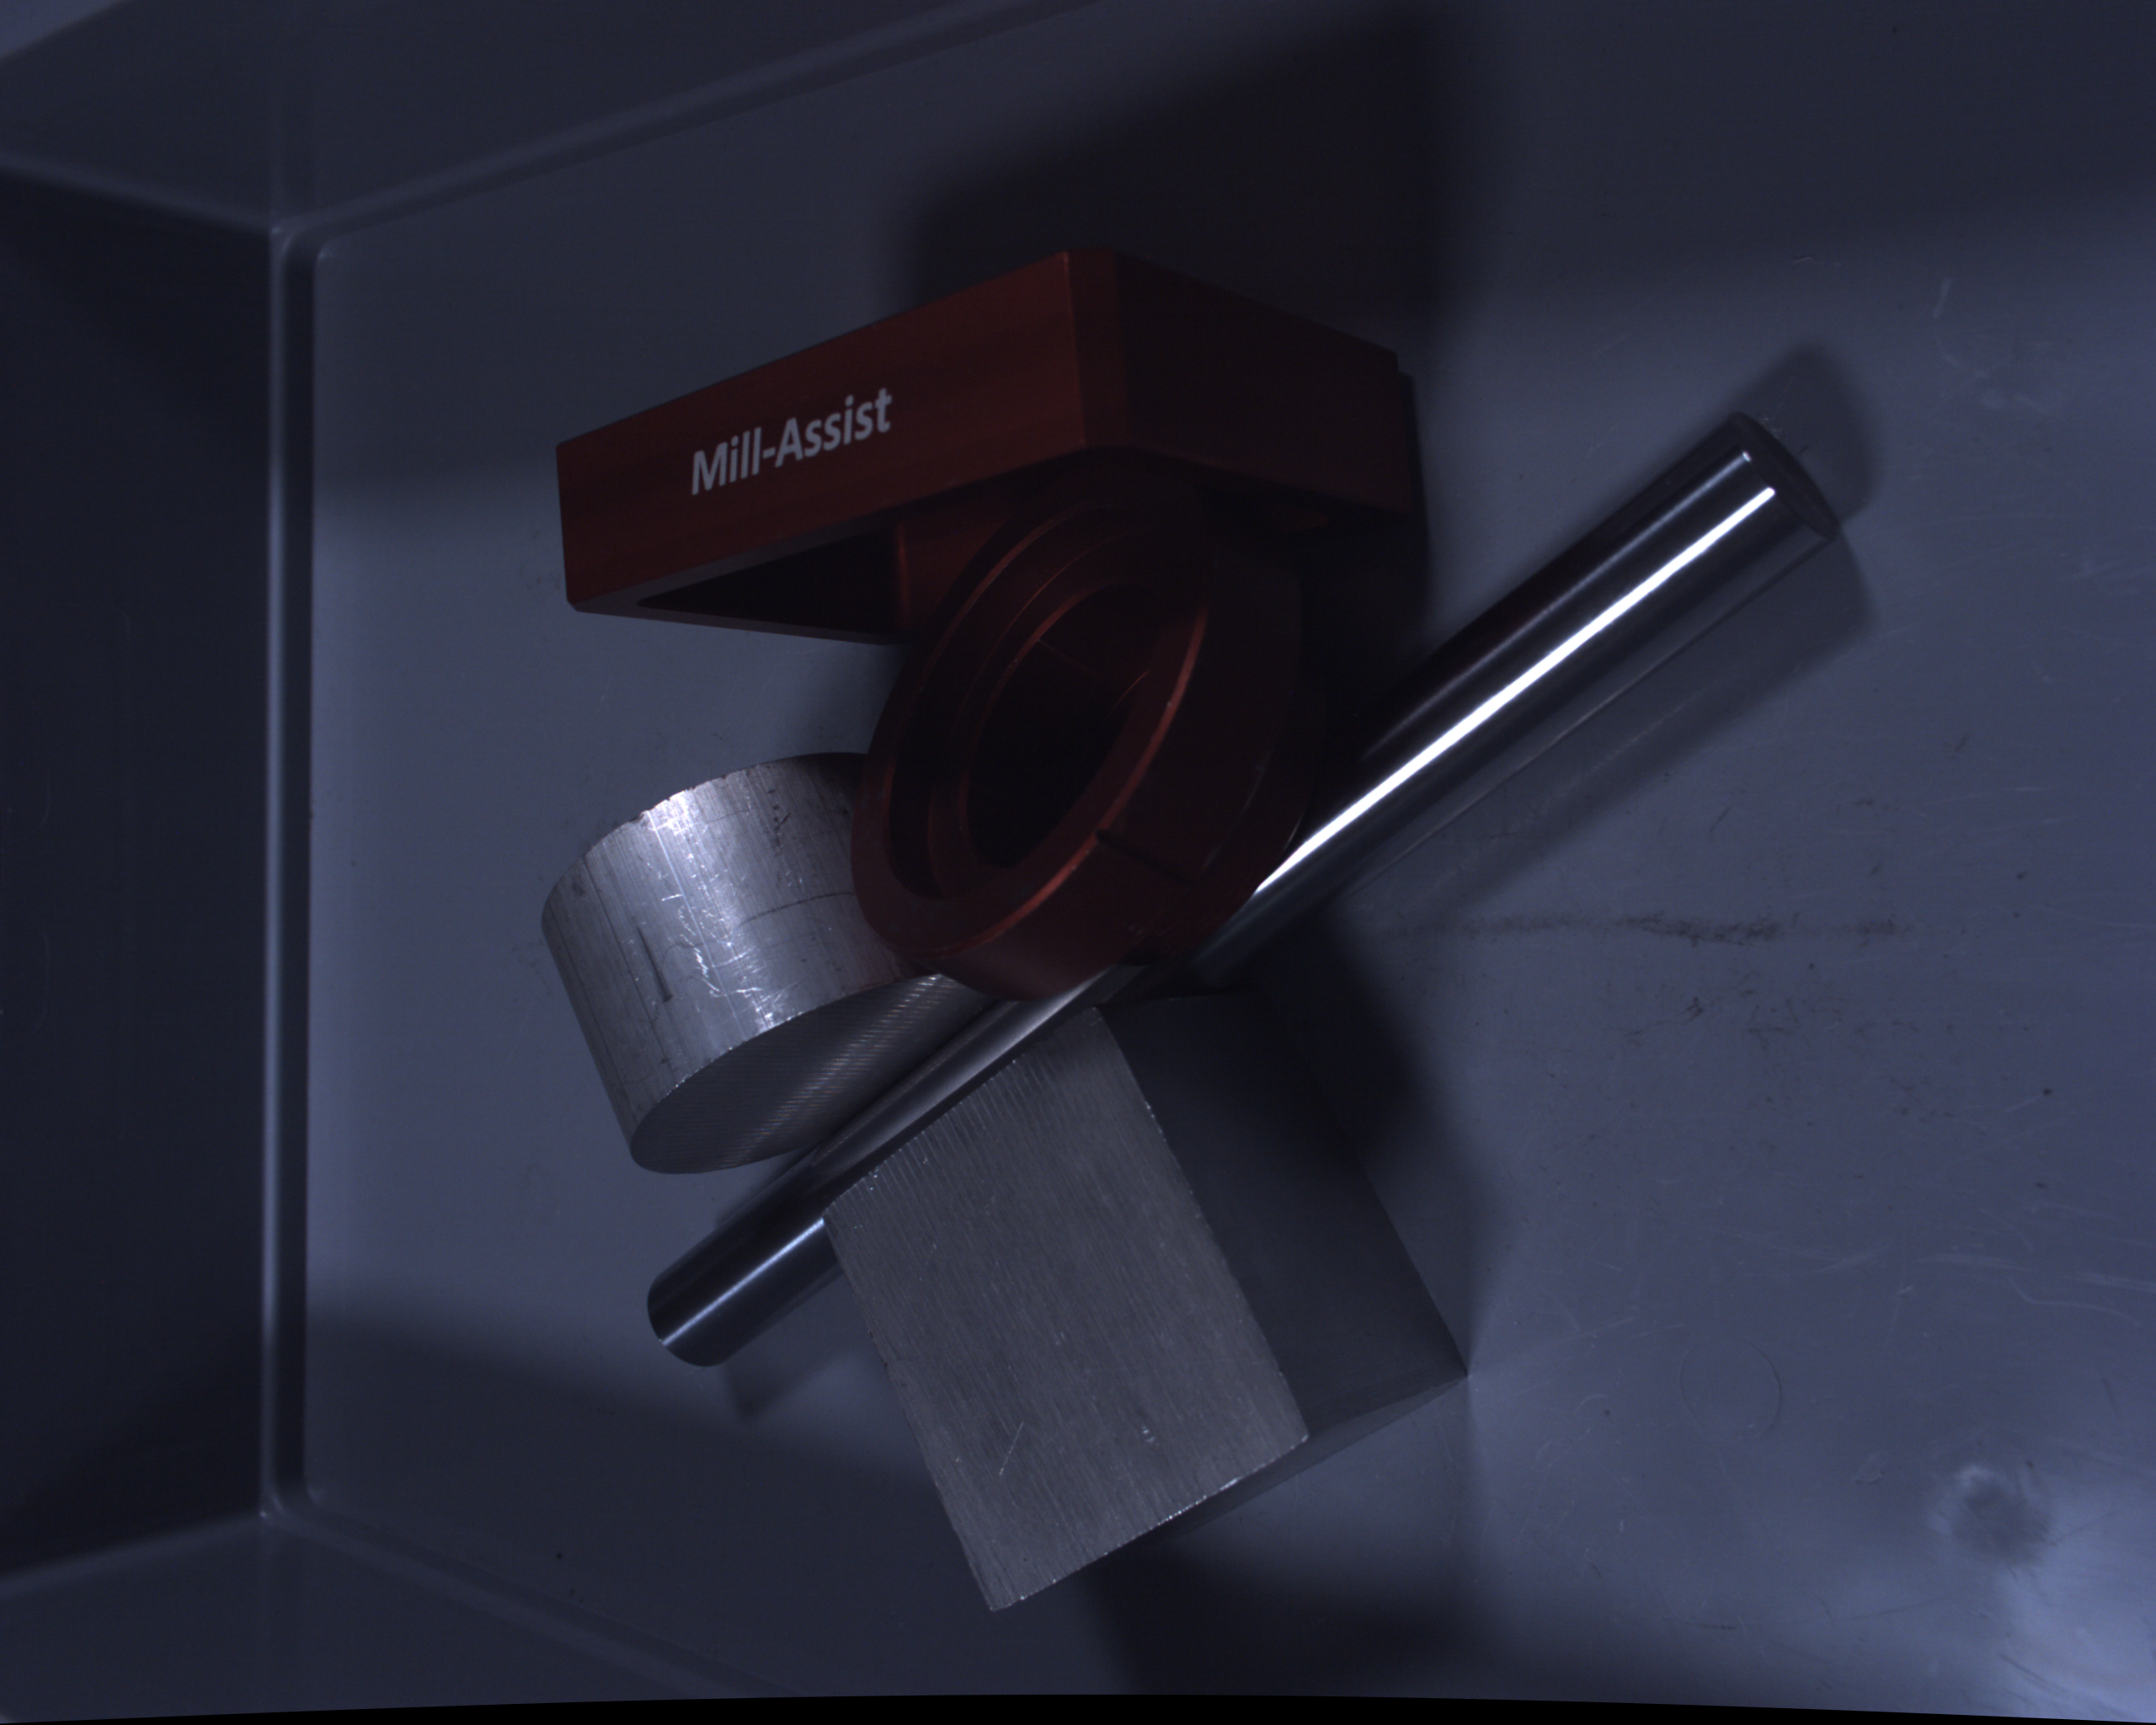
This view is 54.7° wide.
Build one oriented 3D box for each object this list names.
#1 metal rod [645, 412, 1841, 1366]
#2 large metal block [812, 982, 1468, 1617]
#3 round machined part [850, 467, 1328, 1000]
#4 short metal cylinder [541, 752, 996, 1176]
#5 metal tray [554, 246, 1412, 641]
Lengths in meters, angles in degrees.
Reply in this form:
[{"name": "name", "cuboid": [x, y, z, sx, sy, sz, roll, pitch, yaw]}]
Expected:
[{"name": "metal rod", "cuboid": [0.010, 0.022, 0.395, 0.299, 0.025, 0.025, -40, 66, 32]}, {"name": "large metal block", "cuboid": [0.009, 0.077, 0.378, 0.080, 0.050, 0.080, -40, 66, 32]}, {"name": "round machined part", "cuboid": [0.005, -0.020, 0.370, 0.098, 0.042, 0.098, -35, 40, 36]}, {"name": "short metal cylinder", "cuboid": [-0.059, 0.021, 0.416, 0.080, 0.081, 0.050, -40, 66, 32]}, {"name": "metal tray", "cuboid": [-0.019, -0.068, 0.375, 0.130, 0.091, 0.030, -8, 85, 39]}]
